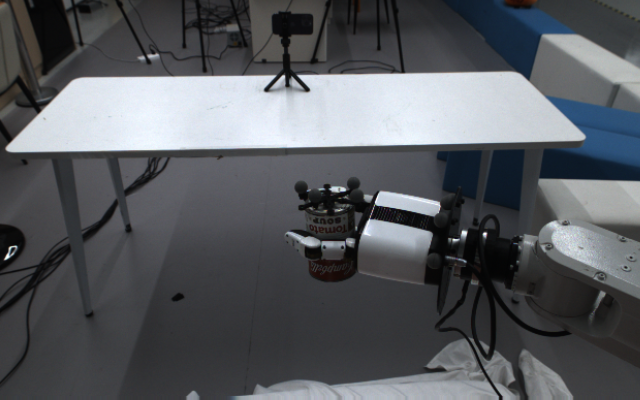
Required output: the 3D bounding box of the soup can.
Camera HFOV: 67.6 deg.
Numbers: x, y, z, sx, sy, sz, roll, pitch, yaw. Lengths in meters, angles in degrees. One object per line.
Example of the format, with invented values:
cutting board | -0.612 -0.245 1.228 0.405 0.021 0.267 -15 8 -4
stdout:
soup can | 0.016 0.048 0.643 0.067 0.101 0.067 -4 26 2
